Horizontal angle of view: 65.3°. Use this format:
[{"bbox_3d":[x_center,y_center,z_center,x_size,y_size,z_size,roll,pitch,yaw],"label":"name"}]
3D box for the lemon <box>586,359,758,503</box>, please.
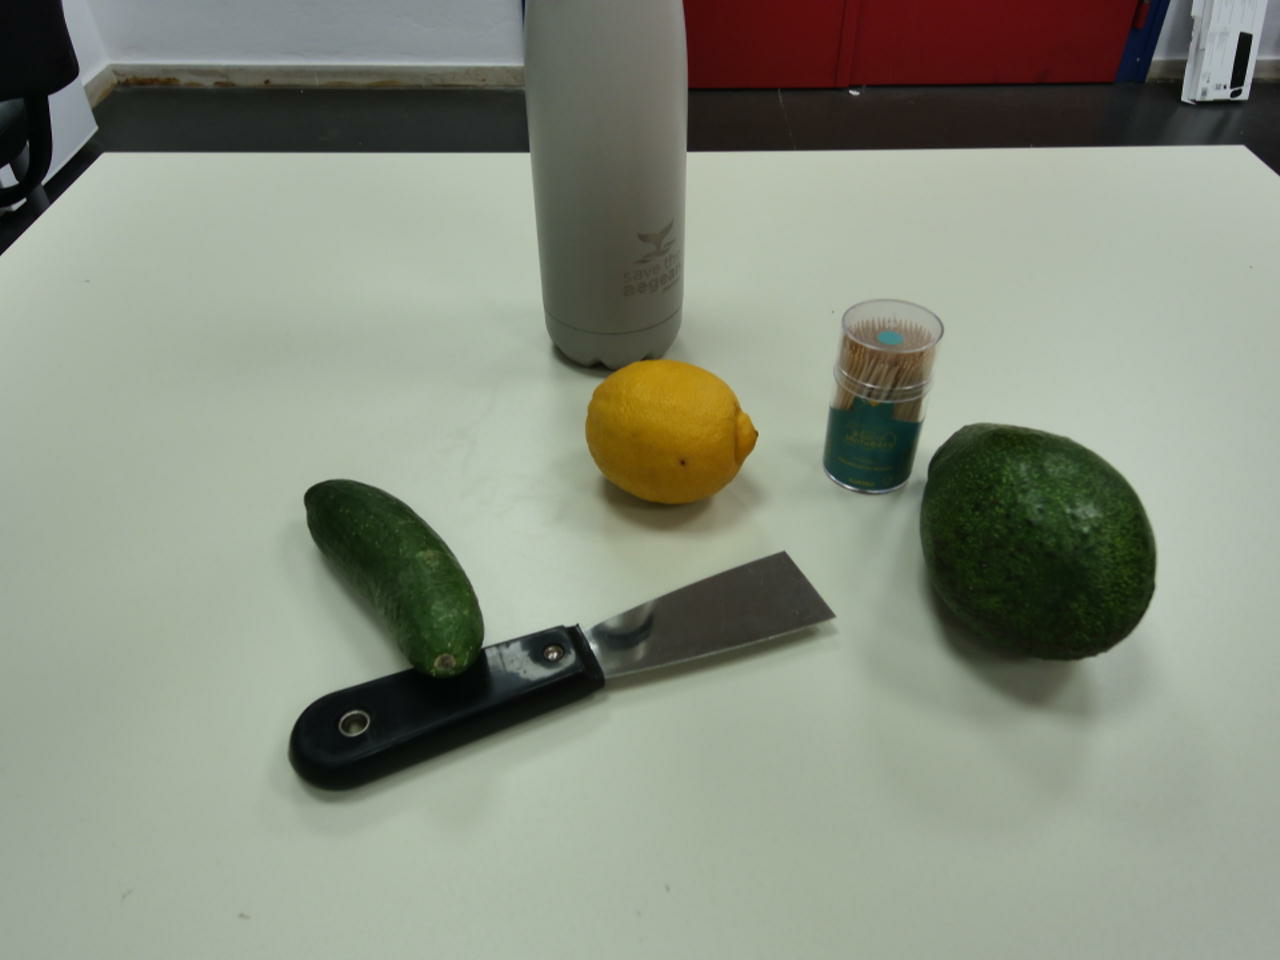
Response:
[{"bbox_3d":[0.012,-0.020,0.419,0.067,0.059,0.060,29,47,32],"label":"lemon"}]
